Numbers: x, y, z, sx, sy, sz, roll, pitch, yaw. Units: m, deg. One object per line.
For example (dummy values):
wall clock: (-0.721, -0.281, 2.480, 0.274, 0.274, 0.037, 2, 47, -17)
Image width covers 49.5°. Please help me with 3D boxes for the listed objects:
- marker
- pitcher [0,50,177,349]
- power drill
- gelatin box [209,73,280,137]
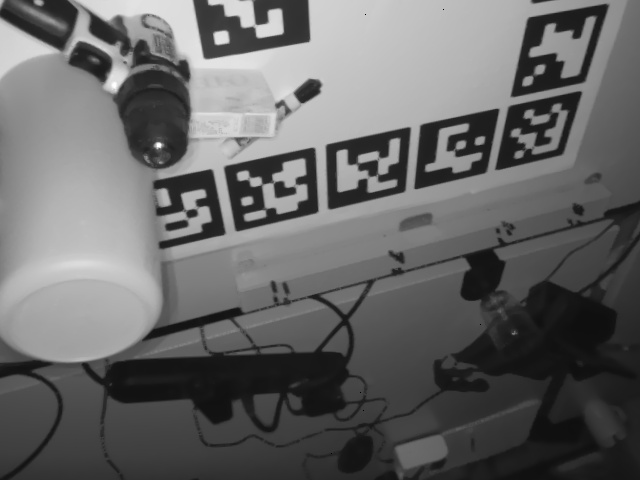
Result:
marker: (-0.040, -0.112, 0.691, 0.120, 0.019, 0.020, -31, 136, 6)
pitcher: (-0.205, -0.038, 0.544, 0.191, 0.242, 0.131, 10, 125, -38)
power drill: (-0.166, -0.136, 0.498, 0.189, 0.185, 0.056, 20, 120, -29)
gelatin box: (-0.087, -0.123, 0.625, 0.090, 0.073, 0.030, -3, 130, -18)
